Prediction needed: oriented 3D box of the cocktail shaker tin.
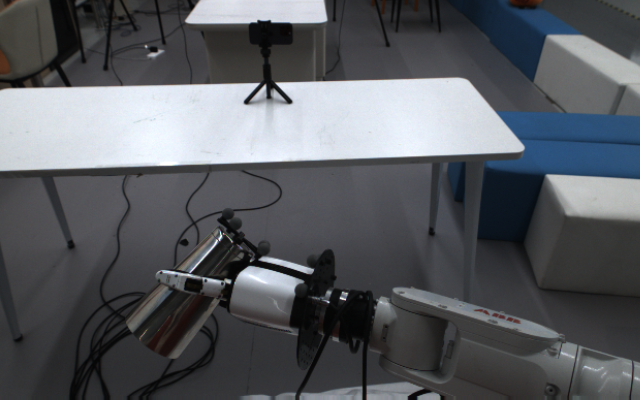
[{"bbox_3d":[-0.171,0.118,0.668,0.170,0.093,0.093,-48,49,-3],"label":"cocktail shaker tin"}]
